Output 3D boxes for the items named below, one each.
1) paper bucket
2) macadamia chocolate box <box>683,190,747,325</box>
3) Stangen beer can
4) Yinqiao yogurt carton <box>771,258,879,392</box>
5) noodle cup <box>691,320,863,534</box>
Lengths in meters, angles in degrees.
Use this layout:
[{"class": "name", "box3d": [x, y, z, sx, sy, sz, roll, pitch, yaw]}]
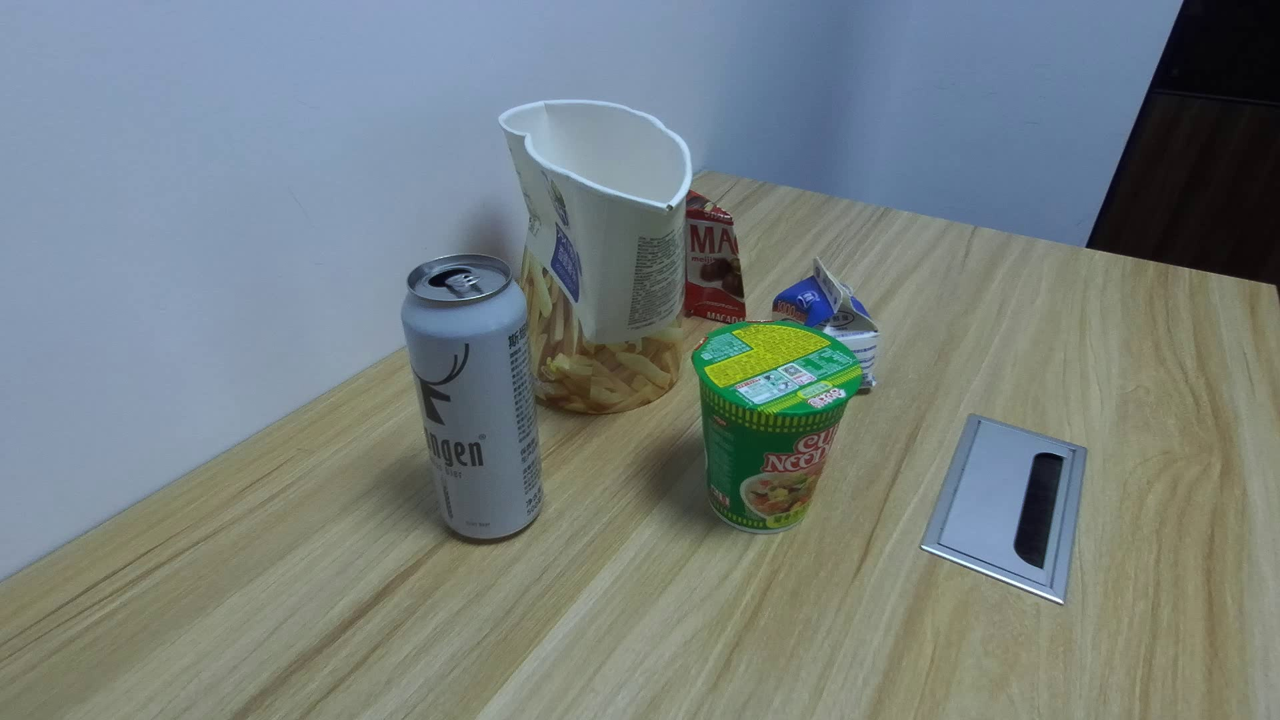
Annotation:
[{"class": "paper bucket", "box3d": [-0.033, -0.078, 0.544, 0.217, 0.199, 0.148, 21, 39, 30]}, {"class": "macadamia chocolate box", "box3d": [0.059, -0.105, 0.665, 0.056, 0.112, 0.126, -8, 35, -12]}, {"class": "Stangen beer can", "box3d": [-0.094, 0.027, 0.416, 0.067, 0.171, 0.067, 0, 32, 0]}, {"class": "Yinqiao yogurt carton", "box3d": [0.148, -0.028, 0.569, 0.071, 0.094, 0.077, -8, 34, -2]}, {"class": "noodle cup", "box3d": [0.080, 0.046, 0.440, 0.097, 0.110, 0.097, 0, 34, 1]}]
